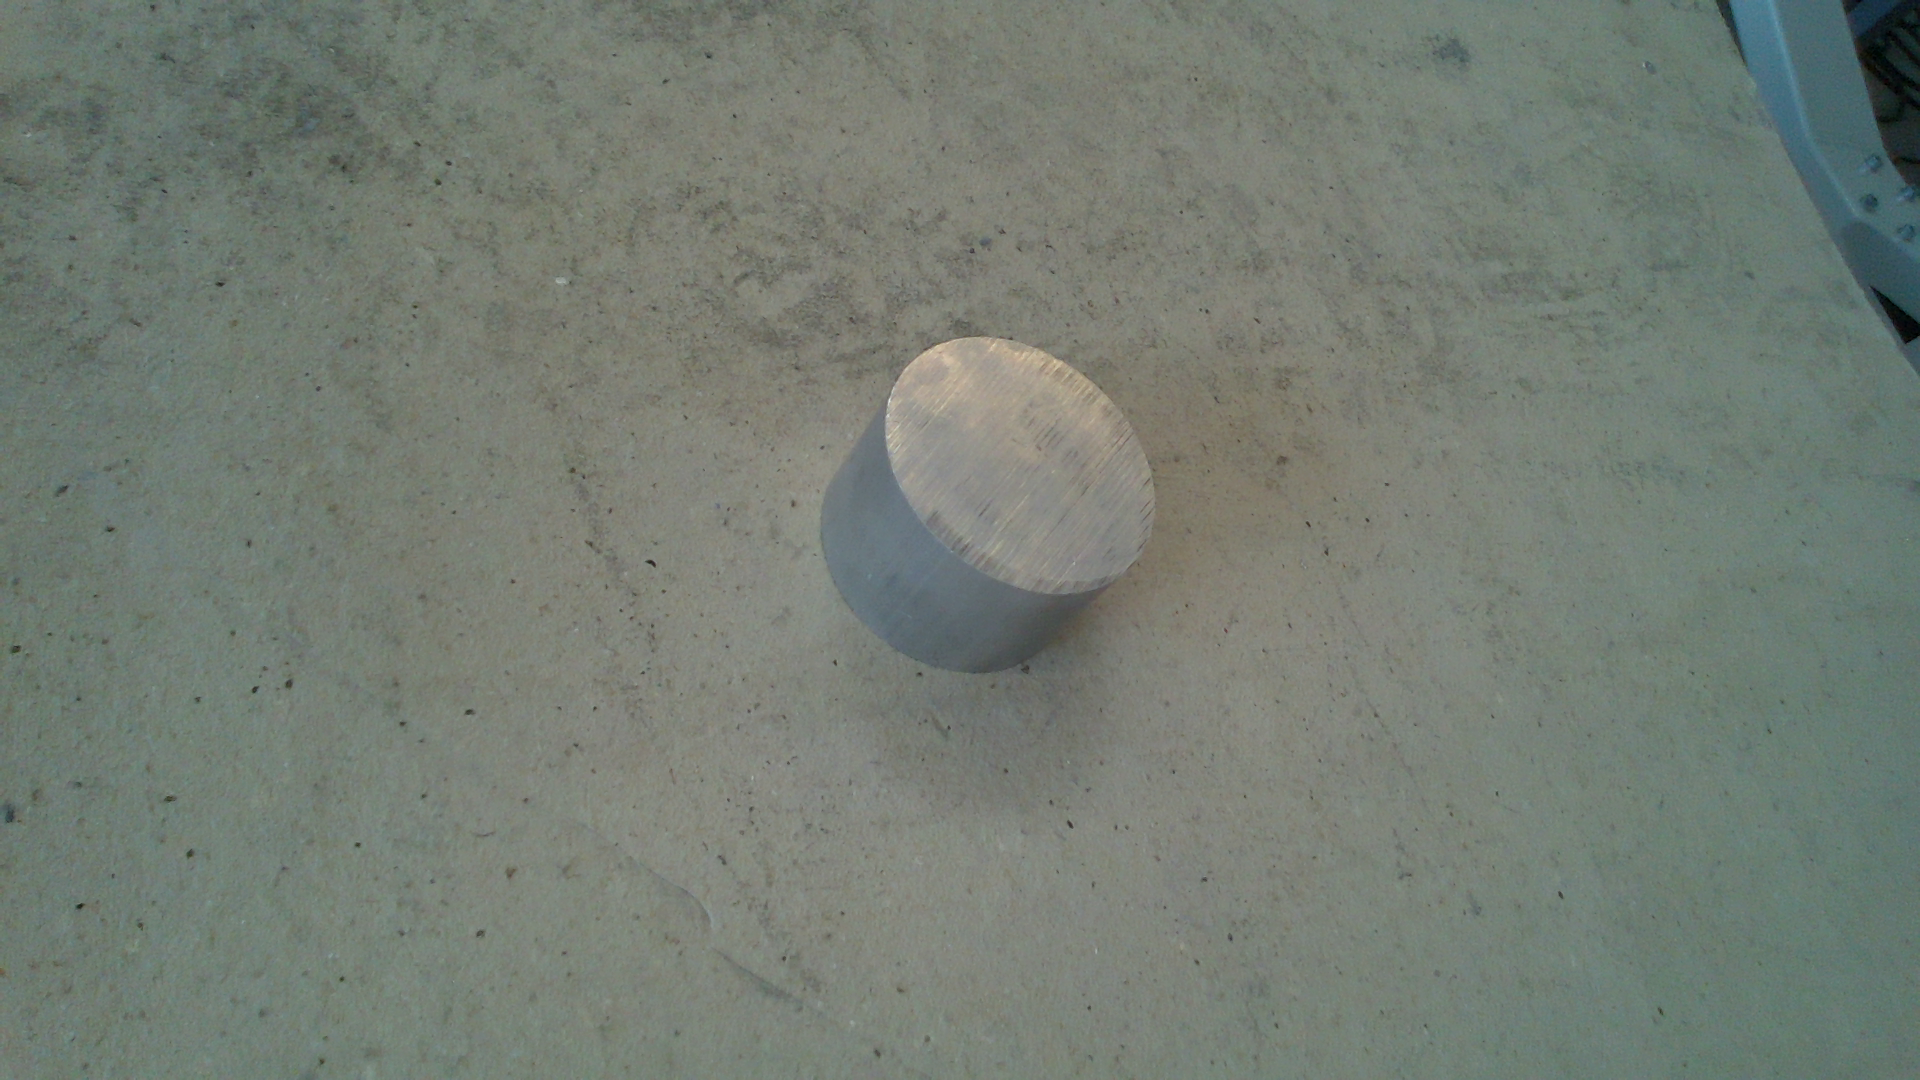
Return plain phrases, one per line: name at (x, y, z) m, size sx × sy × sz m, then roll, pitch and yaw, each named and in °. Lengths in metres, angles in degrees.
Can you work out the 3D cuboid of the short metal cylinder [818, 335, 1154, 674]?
short metal cylinder at (0.007, -0.010, 0.383) m, size 0.080 × 0.050 × 0.080 m, roll 14°, pitch 55°, yaw -21°
